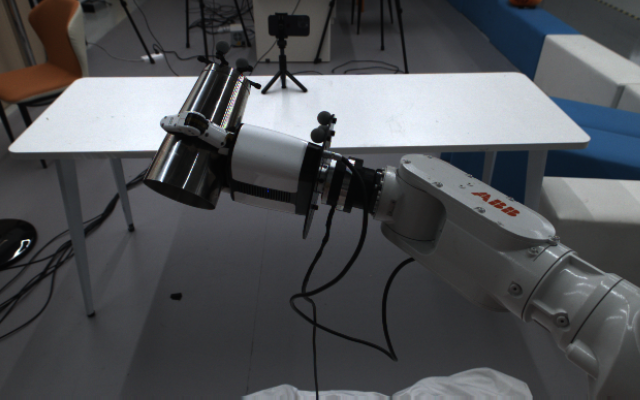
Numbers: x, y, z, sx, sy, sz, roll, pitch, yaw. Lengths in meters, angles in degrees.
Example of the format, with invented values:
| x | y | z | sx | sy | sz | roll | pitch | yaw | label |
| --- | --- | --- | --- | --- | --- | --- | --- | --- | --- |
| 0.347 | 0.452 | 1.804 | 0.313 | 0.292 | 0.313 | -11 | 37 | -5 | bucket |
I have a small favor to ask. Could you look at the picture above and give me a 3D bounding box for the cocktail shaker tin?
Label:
| x | y | z | sx | sy | sz | roll | pitch | yaw | label |
| --- | --- | --- | --- | --- | --- | --- | --- | --- | --- |
| -0.148 | -0.082 | 0.613 | 0.093 | 0.093 | 0.170 | 14 | 74 | 17 | cocktail shaker tin |
